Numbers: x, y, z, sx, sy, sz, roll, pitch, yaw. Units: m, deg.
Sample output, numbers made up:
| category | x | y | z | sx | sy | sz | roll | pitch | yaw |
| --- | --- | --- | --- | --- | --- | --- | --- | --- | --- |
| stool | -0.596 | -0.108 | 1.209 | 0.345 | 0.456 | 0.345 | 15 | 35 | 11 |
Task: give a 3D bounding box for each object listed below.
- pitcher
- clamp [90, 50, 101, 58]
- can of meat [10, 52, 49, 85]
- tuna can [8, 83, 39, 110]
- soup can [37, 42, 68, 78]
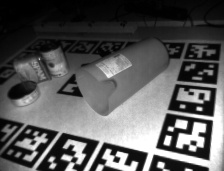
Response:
| category | x | y | z | sx | sy | sz | roll | pitch | yaw |
| --- | --- | --- | --- | --- | --- | --- | --- | --- | --- |
| pitcher | 0.022 | -0.043 | 0.590 | 0.244 | 0.134 | 0.186 | -33 | 20 | -32 |
| clamp | -0.028 | -0.079 | 0.745 | 0.163 | 0.037 | 0.122 | 10 | 41 | 21 |
| can of meat | -0.269 | -0.048 | 0.707 | 0.084 | 0.103 | 0.057 | -21 | 41 | -2 |
| tuna can | -0.273 | 0.034 | 0.669 | 0.085 | 0.034 | 0.085 | -8 | 41 | 8 |
| soup can | -0.200 | -0.086 | 0.739 | 0.067 | 0.103 | 0.067 | -11 | 40 | 10 |
